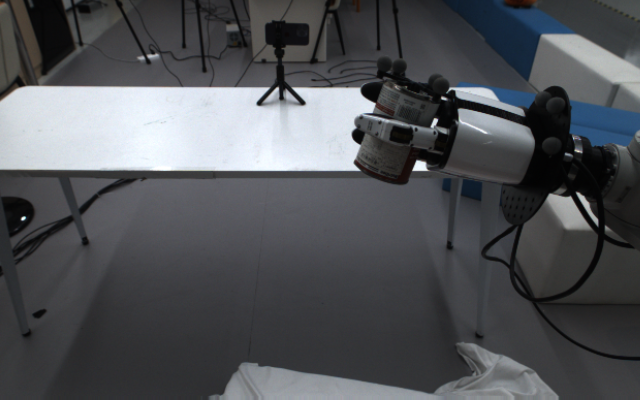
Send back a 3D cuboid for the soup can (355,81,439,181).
[{"bbox_3d":[0.088,-0.078,0.552,0.067,0.101,0.067,16,21,-7],"label":"soup can"}]
